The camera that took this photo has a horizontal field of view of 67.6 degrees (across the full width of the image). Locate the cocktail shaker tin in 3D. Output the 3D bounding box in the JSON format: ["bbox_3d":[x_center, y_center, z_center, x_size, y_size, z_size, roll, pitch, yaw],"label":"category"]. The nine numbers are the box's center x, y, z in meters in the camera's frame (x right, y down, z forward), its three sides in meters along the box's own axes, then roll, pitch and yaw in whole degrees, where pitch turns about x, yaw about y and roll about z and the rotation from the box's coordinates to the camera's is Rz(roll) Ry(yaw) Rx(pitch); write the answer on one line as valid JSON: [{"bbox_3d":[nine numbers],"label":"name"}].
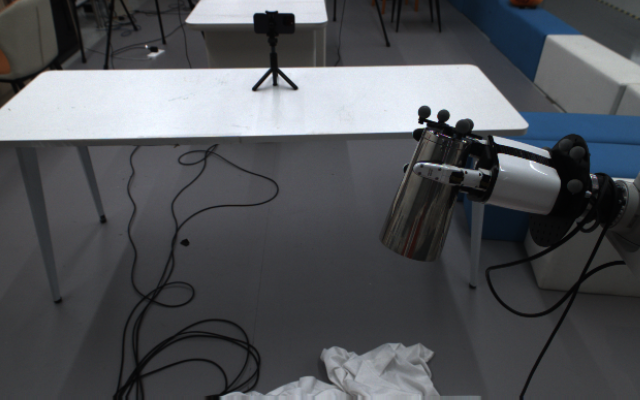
[{"bbox_3d":[0.153,-0.014,0.681,0.093,0.170,0.093,14,18,-5],"label":"cocktail shaker tin"}]
